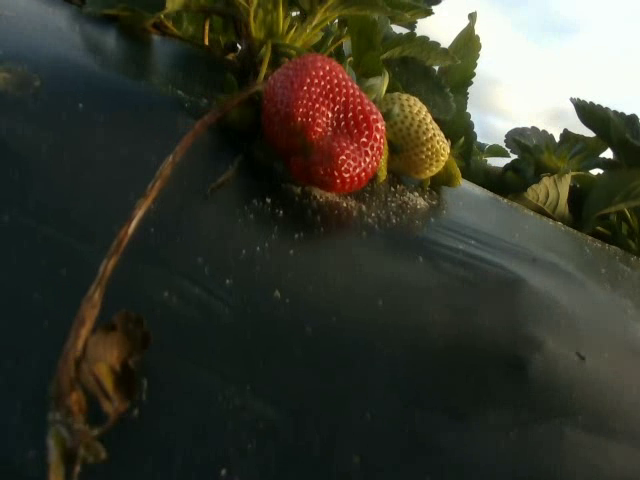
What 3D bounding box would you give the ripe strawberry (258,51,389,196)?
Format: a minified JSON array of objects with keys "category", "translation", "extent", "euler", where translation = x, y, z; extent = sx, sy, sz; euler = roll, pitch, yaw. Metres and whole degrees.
[{"category":"ripe strawberry","translation":[0.004,-0.041,0.203],"extent":[0.047,0.035,0.050],"euler":[24,34,-3]}]
